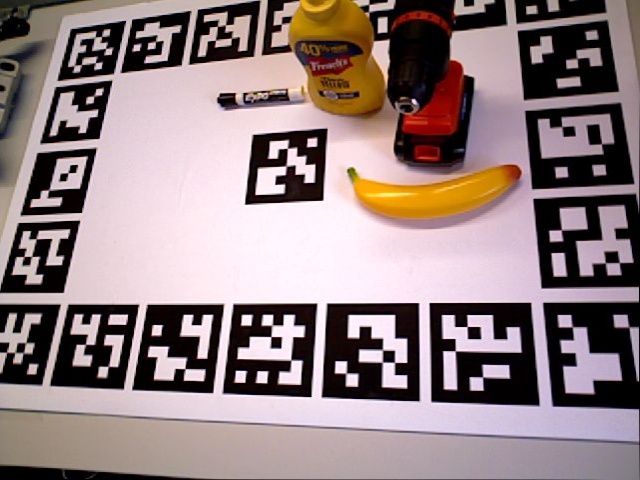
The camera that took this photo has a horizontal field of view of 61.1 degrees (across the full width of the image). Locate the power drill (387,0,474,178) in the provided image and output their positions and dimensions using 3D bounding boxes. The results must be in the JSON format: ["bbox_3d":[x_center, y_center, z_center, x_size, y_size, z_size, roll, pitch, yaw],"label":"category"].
[{"bbox_3d":[0.113,-0.144,0.560,0.057,0.188,0.183,15,72,16],"label":"power drill"}]

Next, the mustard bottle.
[{"bbox_3d":[0.021,-0.200,0.622,0.096,0.193,0.058,12,72,16],"label":"mustard bottle"}]

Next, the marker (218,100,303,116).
[{"bbox_3d":[-0.083,-0.179,0.737,0.121,0.020,0.019,2,72,16],"label":"marker"}]

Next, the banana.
[{"bbox_3d":[0.116,-0.027,0.623,0.198,0.039,0.074,8,75,19],"label":"banana"}]
